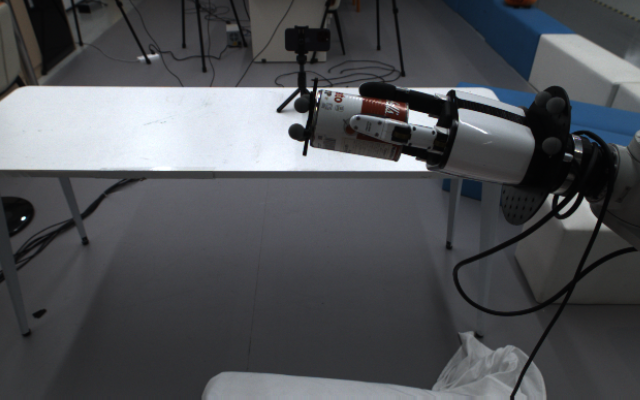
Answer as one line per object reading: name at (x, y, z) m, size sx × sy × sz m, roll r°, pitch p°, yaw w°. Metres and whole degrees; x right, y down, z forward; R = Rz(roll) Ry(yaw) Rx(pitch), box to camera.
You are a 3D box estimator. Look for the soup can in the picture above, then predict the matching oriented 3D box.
soup can at (0.046, -0.086, 0.555) m, size 0.101 × 0.067 × 0.067 m, roll 9°, pitch 35°, yaw 0°
